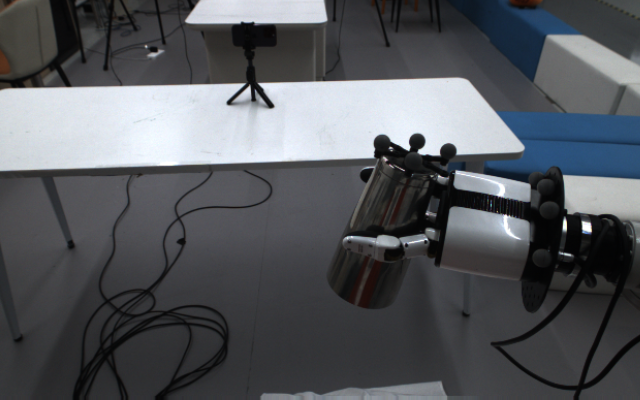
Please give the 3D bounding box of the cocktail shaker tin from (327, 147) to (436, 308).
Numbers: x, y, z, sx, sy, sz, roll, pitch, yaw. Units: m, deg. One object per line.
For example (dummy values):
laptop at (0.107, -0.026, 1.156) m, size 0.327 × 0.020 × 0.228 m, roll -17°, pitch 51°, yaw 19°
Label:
cocktail shaker tin at (0.077, 0.030, 0.559) m, size 0.093 × 0.170 × 0.093 m, roll 12°, pitch 29°, yaw -7°
